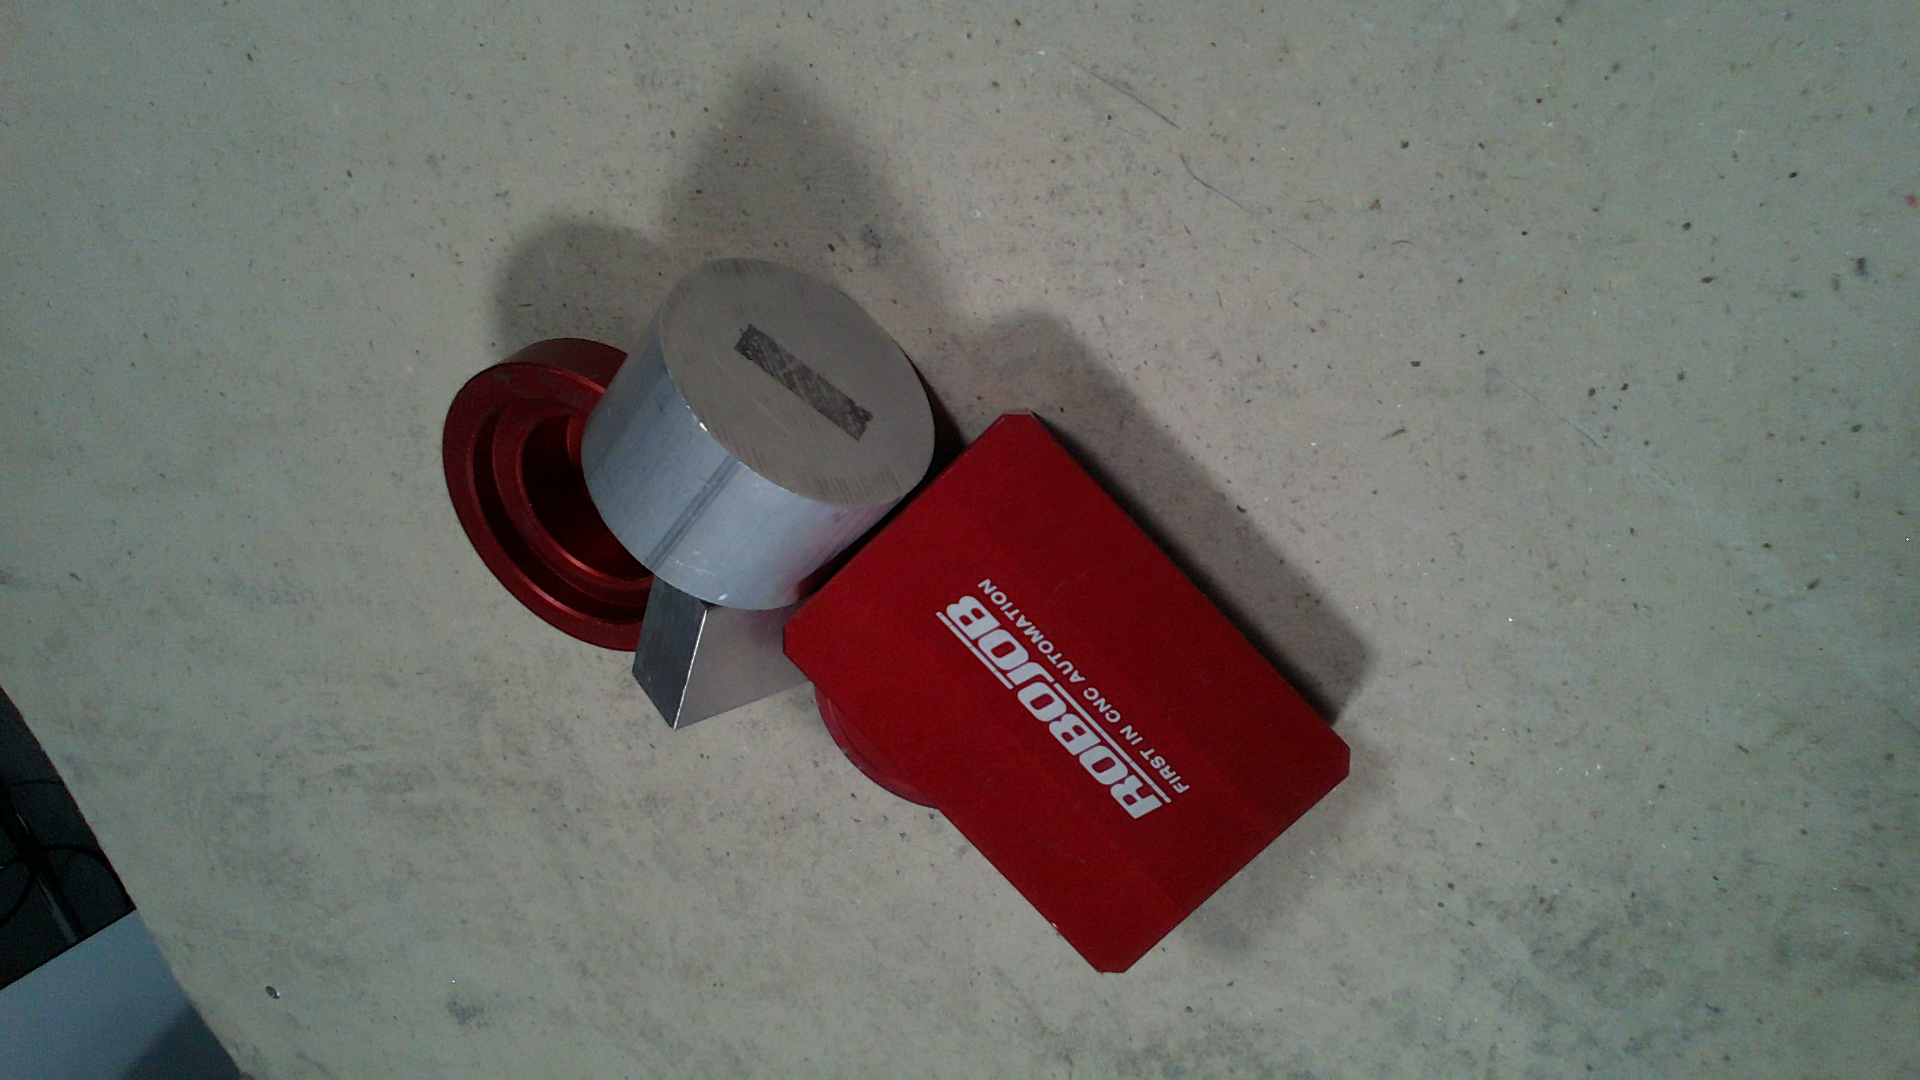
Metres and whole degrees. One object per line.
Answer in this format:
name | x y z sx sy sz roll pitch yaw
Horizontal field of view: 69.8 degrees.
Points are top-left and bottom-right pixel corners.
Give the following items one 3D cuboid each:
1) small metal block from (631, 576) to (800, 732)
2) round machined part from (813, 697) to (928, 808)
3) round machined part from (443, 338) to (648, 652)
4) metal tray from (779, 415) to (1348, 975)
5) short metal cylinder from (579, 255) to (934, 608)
small metal block | -0.064 0.023 0.403 0.025 0.050 0.050 46 134 28
round machined part | -0.005 0.041 0.410 0.098 0.042 0.098 13 124 21
round machined part | -0.108 -0.017 0.429 0.098 0.042 0.098 13 124 21
metal tray | 0.027 0.040 0.371 0.090 0.030 0.130 -44 94 7
short metal cylinder | -0.054 -0.029 0.370 0.080 0.080 0.050 44 129 -2
